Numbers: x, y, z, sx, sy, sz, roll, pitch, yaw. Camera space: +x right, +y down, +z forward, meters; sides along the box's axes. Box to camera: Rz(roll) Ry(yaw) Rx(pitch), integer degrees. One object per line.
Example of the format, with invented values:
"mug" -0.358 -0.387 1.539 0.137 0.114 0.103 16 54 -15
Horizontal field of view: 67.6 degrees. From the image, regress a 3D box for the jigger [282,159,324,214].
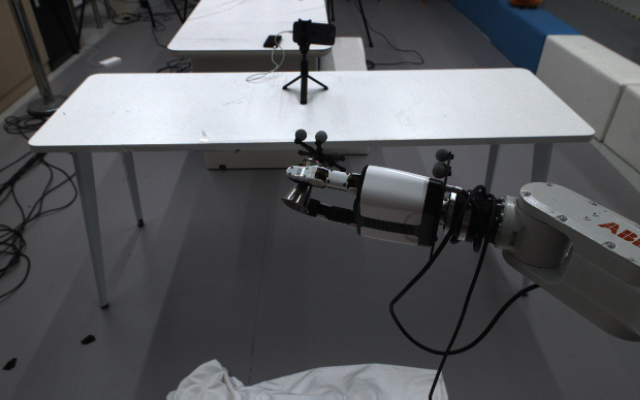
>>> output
"jigger" -0.023 -0.023 0.682 0.043 0.043 0.071 20 73 24
